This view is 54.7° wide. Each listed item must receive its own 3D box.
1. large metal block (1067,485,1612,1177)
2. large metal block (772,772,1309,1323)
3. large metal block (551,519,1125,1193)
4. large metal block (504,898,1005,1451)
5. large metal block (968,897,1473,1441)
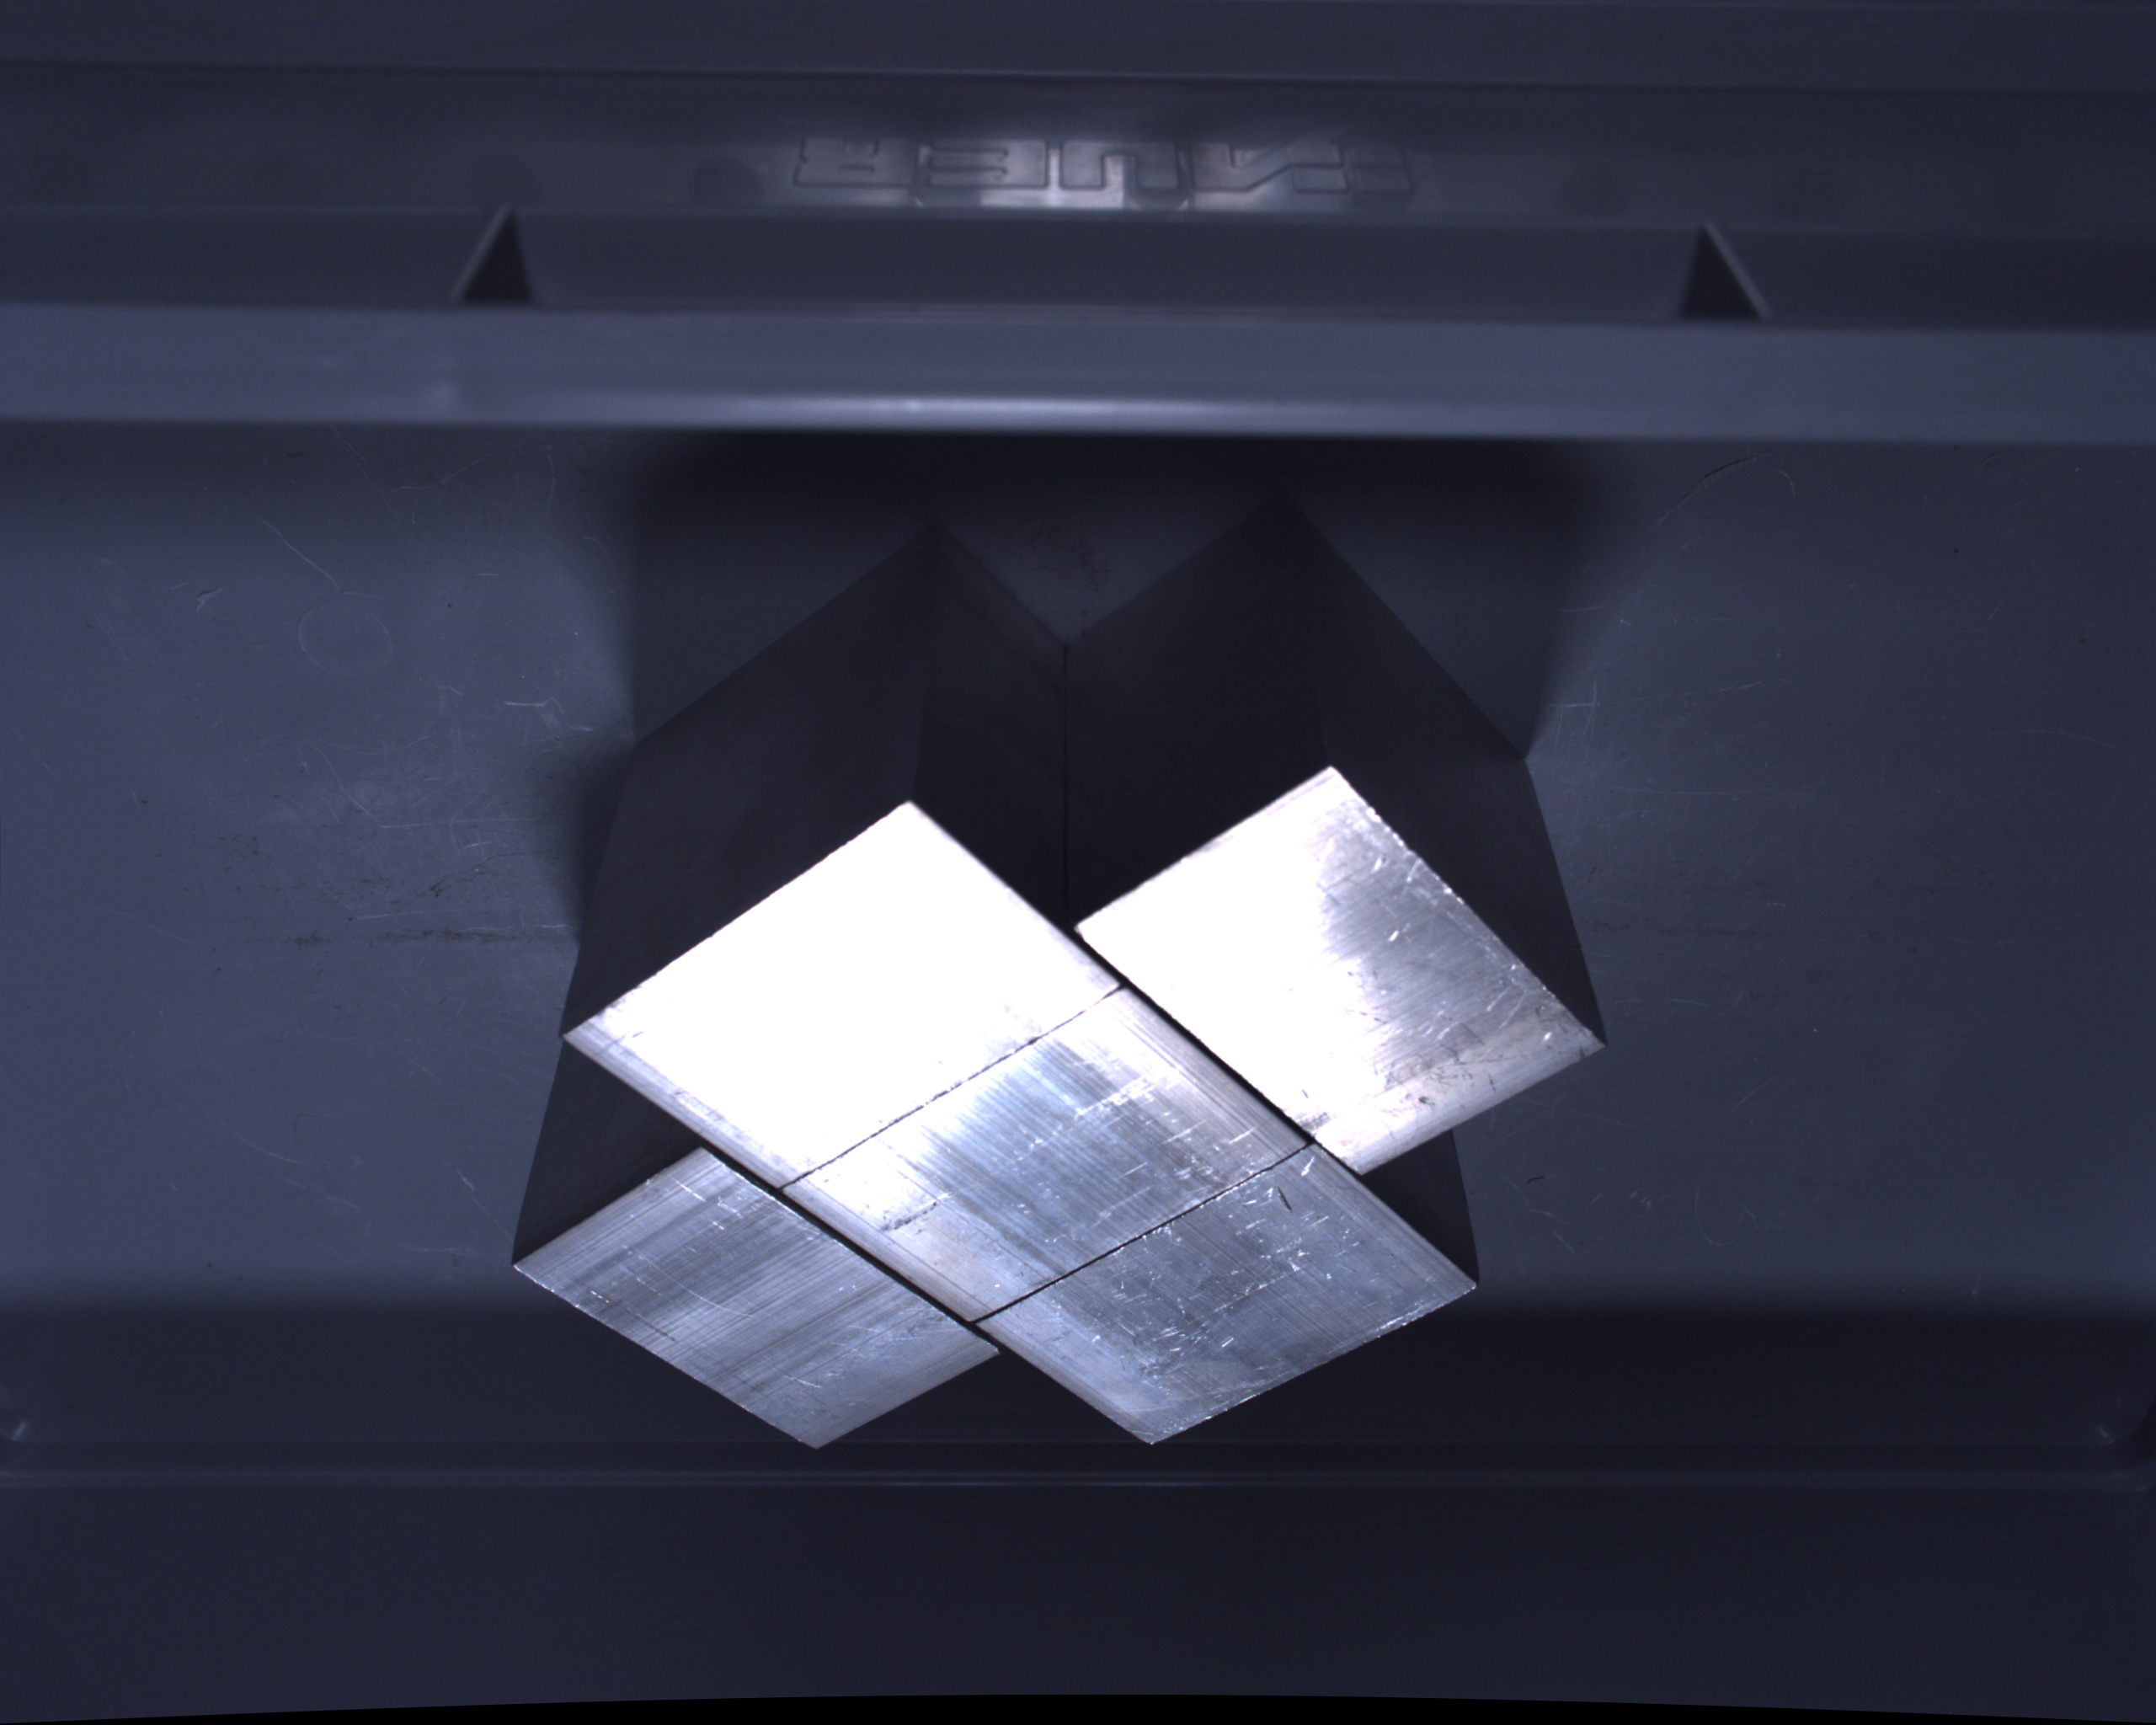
[{"bbox_3d":[0.043,-0.006,0.368,0.050,0.080,0.080,-33,123,25],"label":"large metal block"},{"bbox_3d":[-0.007,0.027,0.395,0.080,0.080,0.050,-32,123,24],"label":"large metal block"},{"bbox_3d":[-0.040,-0.001,0.369,0.080,0.080,0.050,-32,123,24],"label":"large metal block"},{"bbox_3d":[-0.060,0.057,0.420,0.050,0.080,0.080,-33,123,25],"label":"large metal block"},{"bbox_3d":[0.026,0.056,0.421,0.080,0.080,0.050,-32,123,24],"label":"large metal block"}]
